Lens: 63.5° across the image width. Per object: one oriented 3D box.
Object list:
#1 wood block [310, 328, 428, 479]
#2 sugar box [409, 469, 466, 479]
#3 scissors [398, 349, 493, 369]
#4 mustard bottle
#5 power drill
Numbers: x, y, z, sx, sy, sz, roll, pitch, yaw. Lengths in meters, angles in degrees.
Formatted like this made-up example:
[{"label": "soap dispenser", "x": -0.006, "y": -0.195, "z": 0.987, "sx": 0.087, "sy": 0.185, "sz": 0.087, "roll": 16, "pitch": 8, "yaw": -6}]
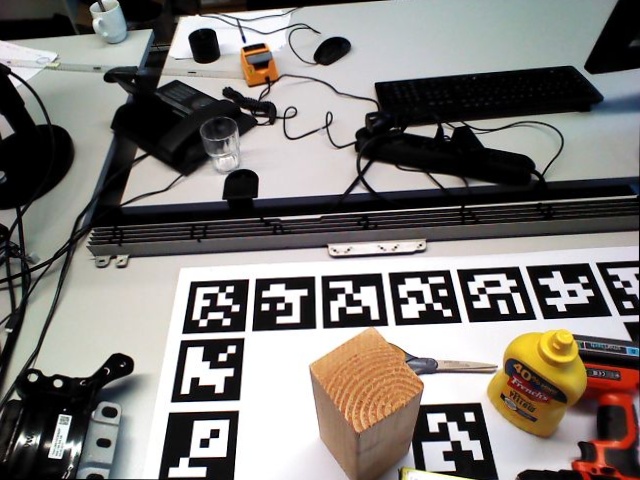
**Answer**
[{"label": "wood block", "x": 0.054, "y": 0.202, "z": 0.601, "sx": 0.091, "sy": 0.207, "sz": 0.090, "roll": -26, "pitch": 54, "yaw": -15}, {"label": "sugar box", "x": 0.183, "y": 0.303, "z": 0.569, "sx": 0.177, "sy": 0.093, "sz": 0.045, "roll": 7, "pitch": 49, "yaw": 9}, {"label": "scissors", "x": 0.140, "y": 0.174, "z": 0.725, "sx": 0.203, "sy": 0.016, "sz": 0.087, "roll": -1, "pitch": 47, "yaw": 5}, {"label": "mustard bottle", "x": 0.274, "y": 0.165, "z": 0.617, "sx": 0.058, "sy": 0.192, "sz": 0.096, "roll": -36, "pitch": 58, "yaw": -21}, {"label": "power drill", "x": 0.326, "y": 0.239, "z": 0.627, "sx": 0.185, "sy": 0.057, "sz": 0.186, "roll": 7, "pitch": 59, "yaw": 12}]
